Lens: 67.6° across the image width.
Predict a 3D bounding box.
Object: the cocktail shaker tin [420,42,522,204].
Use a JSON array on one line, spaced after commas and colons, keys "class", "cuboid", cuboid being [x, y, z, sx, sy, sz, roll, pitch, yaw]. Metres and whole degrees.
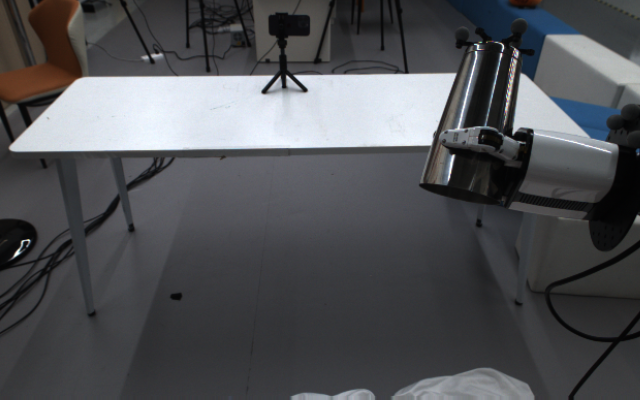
[{"class": "cocktail shaker tin", "cuboid": [0.181, -0.088, 0.560, 0.093, 0.170, 0.093, 15, -4, 1]}]
